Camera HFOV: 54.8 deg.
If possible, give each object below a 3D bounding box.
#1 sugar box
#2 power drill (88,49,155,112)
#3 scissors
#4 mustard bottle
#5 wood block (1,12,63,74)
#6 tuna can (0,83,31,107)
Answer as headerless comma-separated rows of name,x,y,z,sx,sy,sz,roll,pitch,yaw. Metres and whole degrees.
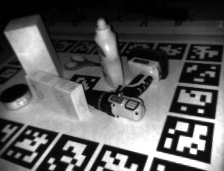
sugar box,-0.140,0.013,0.579,0.174,0.093,0.045,15,46,29
power drill,0.023,-0.023,0.595,0.182,0.058,0.187,16,56,31
scissors,-0.105,-0.097,0.751,0.200,0.016,0.088,6,41,23
mustard bottle,-0.015,-0.104,0.608,0.058,0.193,0.095,-23,42,-7
wood block,-0.231,-0.099,0.659,0.091,0.208,0.089,-15,41,1
tuna can,-0.290,0.024,0.649,0.085,0.034,0.085,-8,42,8
